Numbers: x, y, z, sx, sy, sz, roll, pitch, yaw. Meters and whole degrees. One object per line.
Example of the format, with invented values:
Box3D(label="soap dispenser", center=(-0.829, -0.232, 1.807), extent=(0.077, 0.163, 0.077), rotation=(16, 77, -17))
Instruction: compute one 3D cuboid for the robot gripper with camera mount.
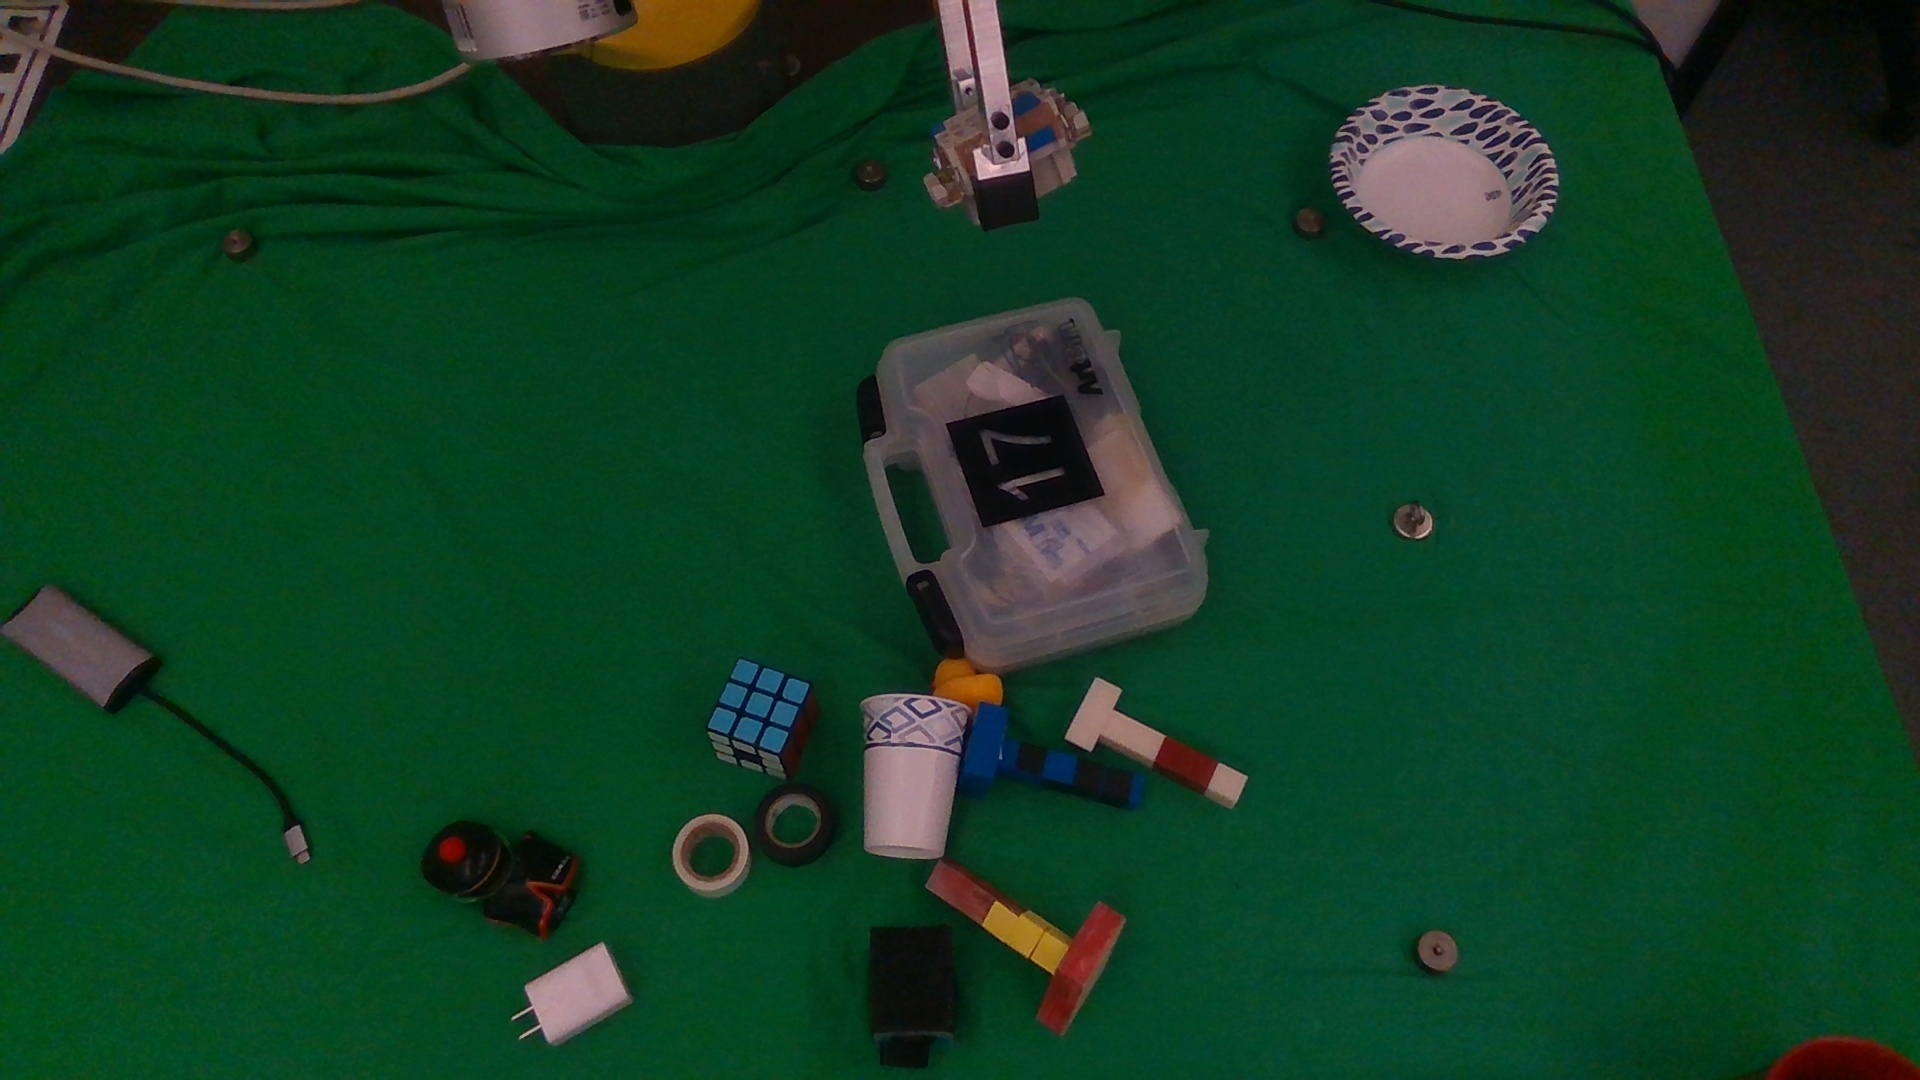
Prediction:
Box3D(label="robot gripper with camera mount", center=(-0.069, -0.174, 0.488), extent=(0.193, 0.158, 0.119), rotation=(-18, 26, -4))

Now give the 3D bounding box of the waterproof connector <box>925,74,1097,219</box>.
Box3D(label="waterproof connector", center=(0.018, -0.148, 0.524), extent=(0.065, 0.037, 0.035), rotation=(-27, 30, 0))
